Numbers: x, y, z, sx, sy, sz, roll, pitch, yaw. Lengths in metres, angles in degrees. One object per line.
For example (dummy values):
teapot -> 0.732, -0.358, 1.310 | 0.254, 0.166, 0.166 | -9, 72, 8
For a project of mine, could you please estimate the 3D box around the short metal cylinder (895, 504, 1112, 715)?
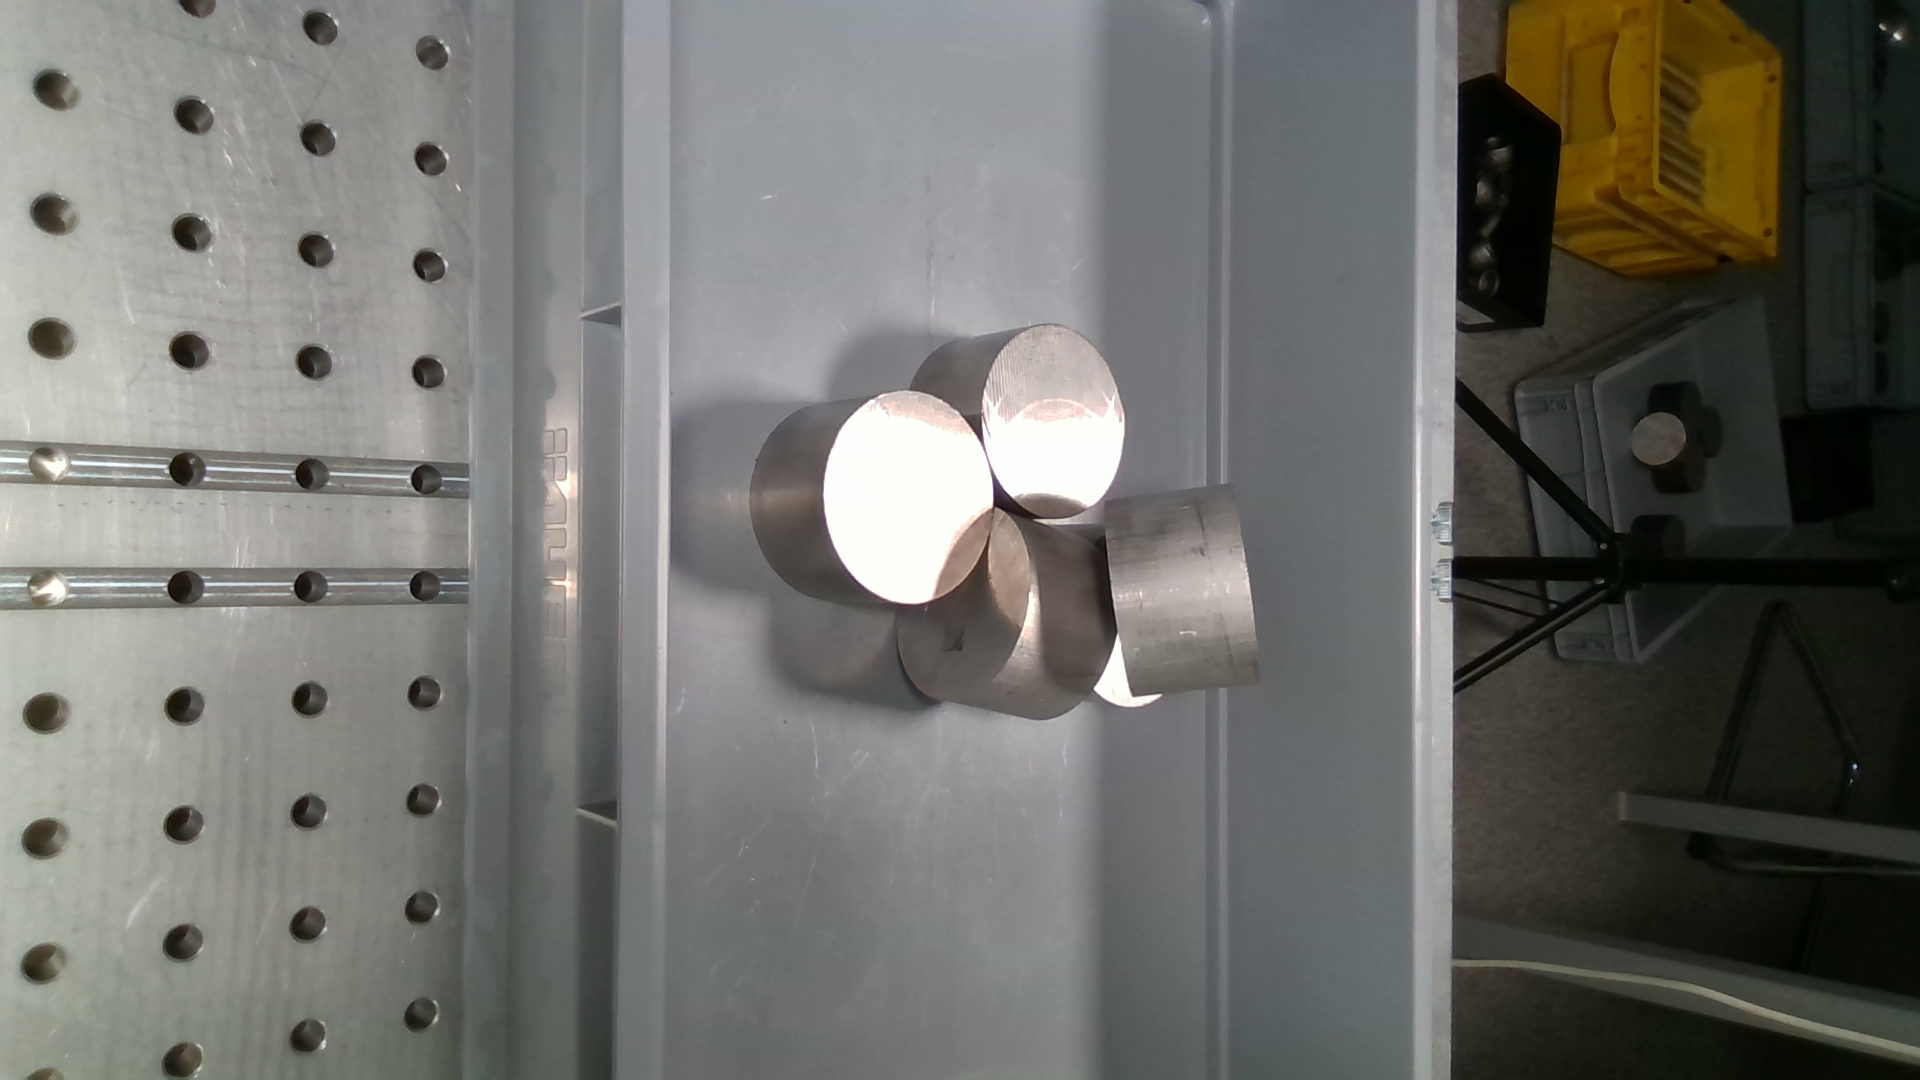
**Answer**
short metal cylinder -> 0.018, 0.029, 0.562 | 0.050, 0.080, 0.080 | 17, 79, -39

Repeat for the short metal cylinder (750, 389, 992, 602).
short metal cylinder -> -0.034, -0.017, 0.536 | 0.080, 0.050, 0.080 | 0, 90, -40

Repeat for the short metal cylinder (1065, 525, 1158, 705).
short metal cylinder -> 0.060, 0.032, 0.616 | 0.080, 0.050, 0.080 | 0, 90, -40

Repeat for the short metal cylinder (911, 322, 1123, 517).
short metal cylinder -> 0.023, -0.049, 0.584 | 0.080, 0.050, 0.080 | 0, 90, -40

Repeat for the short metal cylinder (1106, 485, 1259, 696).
short metal cylinder -> 0.089, 0.020, 0.548 | 0.080, 0.050, 0.080 | -6, 89, -80
